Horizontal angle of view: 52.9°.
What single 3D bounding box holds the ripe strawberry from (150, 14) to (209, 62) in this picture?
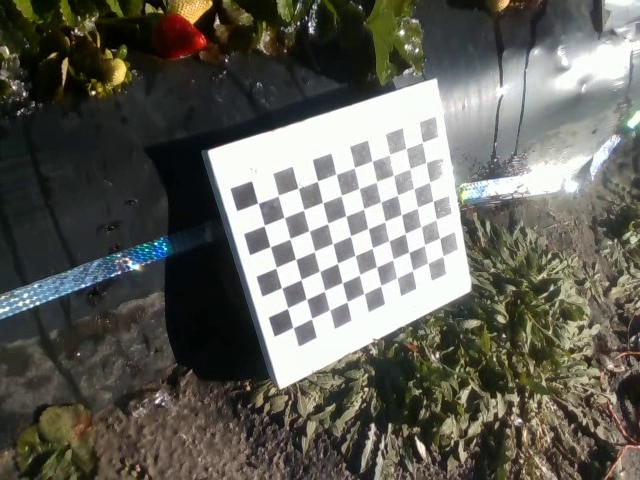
[{"bbox_3d":[-0.114,-0.169,0.530,0.053,0.040,0.042,22,-16,31],"label":"ripe strawberry"}]
